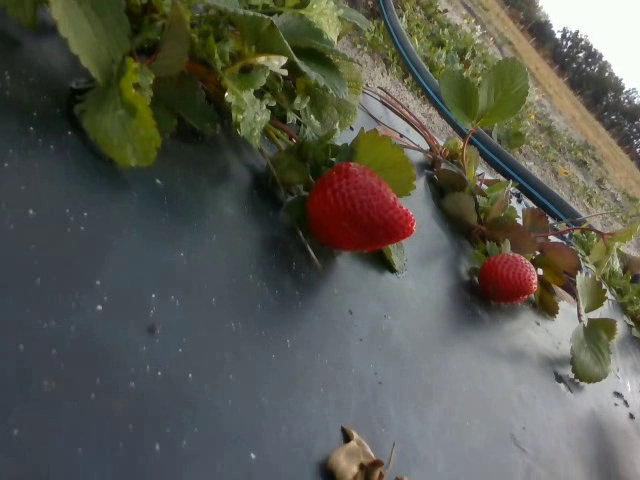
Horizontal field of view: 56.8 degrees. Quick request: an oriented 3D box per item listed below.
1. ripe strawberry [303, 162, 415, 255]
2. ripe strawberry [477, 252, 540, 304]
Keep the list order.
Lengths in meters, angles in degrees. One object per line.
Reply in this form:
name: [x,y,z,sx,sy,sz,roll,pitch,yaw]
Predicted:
ripe strawberry: [0.020,-0.011,0.244,0.046,0.051,0.050,-45,32,-24]
ripe strawberry: [0.120,0.027,0.359,0.041,0.045,0.052,-16,12,-5]
